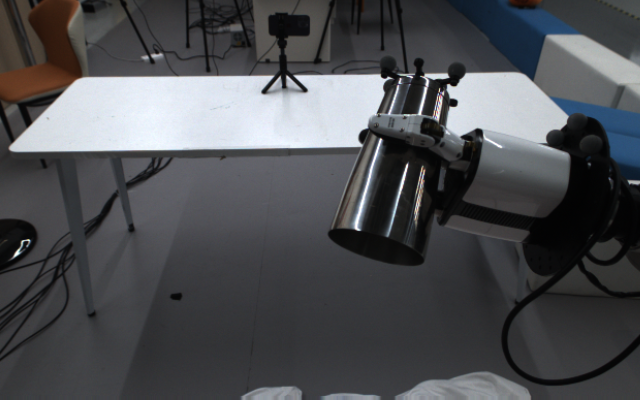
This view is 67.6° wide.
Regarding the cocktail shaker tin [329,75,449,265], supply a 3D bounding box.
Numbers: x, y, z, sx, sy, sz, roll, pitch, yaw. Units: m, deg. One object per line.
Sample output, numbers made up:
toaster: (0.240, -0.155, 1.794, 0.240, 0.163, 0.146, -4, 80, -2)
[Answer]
cocktail shaker tin: (0.076, -0.033, 0.470, 0.093, 0.093, 0.170, 13, 70, 15)
